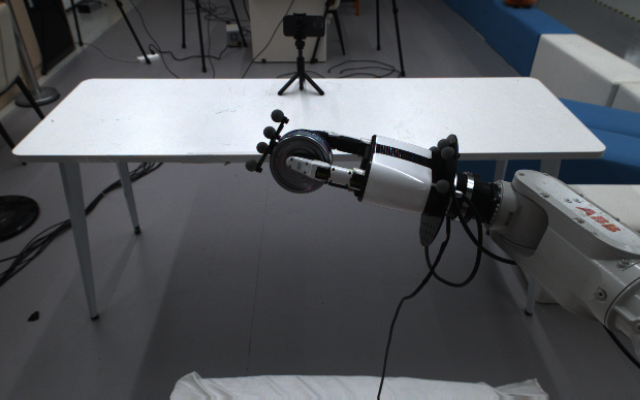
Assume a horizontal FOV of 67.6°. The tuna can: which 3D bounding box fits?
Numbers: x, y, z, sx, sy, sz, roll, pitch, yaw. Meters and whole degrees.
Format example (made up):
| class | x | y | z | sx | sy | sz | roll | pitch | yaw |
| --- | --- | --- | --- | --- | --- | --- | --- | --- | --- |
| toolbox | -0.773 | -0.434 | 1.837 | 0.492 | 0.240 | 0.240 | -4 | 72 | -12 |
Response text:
| class | x | y | z | sx | sy | sz | roll | pitch | yaw |
| --- | --- | --- | --- | --- | --- | --- | --- | --- | --- |
| tuna can | -0.022 | -0.050 | 0.668 | 0.085 | 0.085 | 0.034 | 3 | 21 | 1 |
